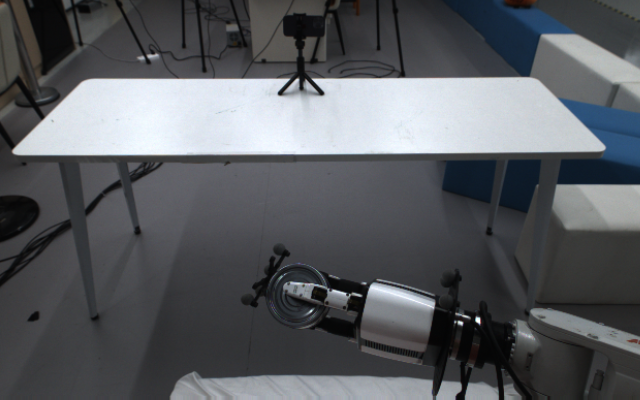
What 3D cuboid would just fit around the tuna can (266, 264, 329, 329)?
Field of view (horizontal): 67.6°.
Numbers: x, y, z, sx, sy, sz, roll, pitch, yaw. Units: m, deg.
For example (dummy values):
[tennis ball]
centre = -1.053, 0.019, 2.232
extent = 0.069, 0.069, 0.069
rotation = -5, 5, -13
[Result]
[tuna can]
centre = -0.024, 0.131, 0.643
extent = 0.085, 0.034, 0.085
rotation = -2, 72, 5
